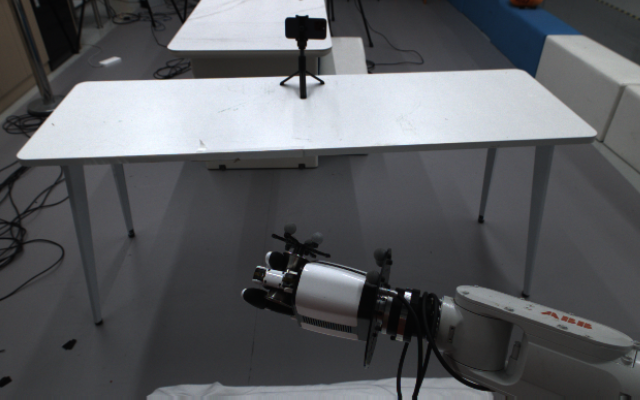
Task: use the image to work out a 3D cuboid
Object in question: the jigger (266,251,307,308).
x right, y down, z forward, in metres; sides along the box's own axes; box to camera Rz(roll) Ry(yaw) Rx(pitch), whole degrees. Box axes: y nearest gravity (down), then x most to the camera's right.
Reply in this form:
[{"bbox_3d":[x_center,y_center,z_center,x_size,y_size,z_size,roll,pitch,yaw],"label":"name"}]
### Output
[{"bbox_3d":[-0.043,0.109,0.670,0.043,0.043,0.071,15,70,18],"label":"jigger"}]
